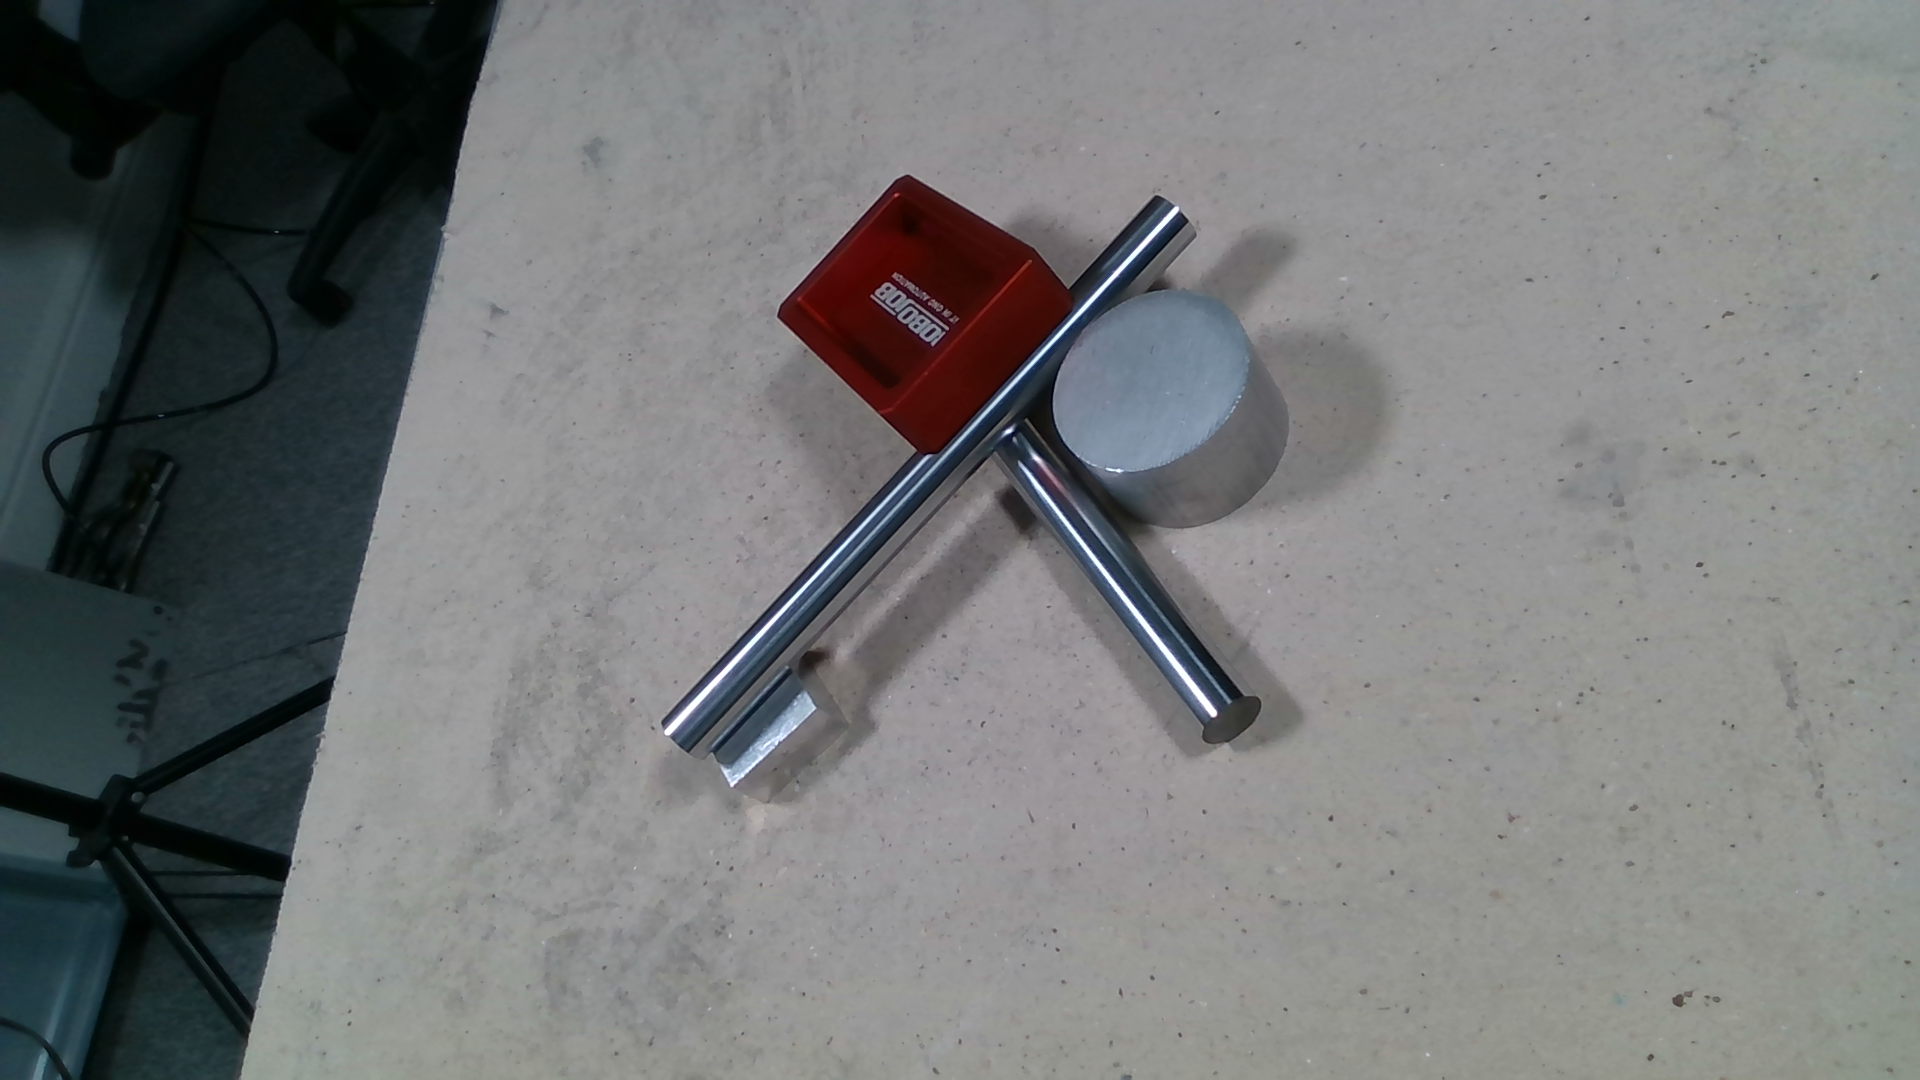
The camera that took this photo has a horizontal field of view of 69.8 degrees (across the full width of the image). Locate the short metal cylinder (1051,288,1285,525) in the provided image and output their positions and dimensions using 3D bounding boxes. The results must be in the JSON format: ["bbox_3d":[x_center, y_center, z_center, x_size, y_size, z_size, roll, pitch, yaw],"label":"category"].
[{"bbox_3d":[0.083,-0.052,0.545,0.080,0.050,0.080,-14,59,25],"label":"short metal cylinder"}]

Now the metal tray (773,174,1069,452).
[{"bbox_3d":[-0.021,-0.102,0.600,0.090,0.030,0.130,-47,39,1],"label":"metal tray"}]

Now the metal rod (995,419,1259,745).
[{"bbox_3d":[0.030,-0.033,0.584,0.025,0.025,0.299,-40,51,7],"label":"metal rod"}]

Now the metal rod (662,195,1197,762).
[{"bbox_3d":[-0.014,-0.025,0.575,0.300,0.025,0.025,-47,51,2],"label":"metal rod"}]

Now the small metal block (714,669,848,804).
[{"bbox_3d":[-0.084,0.077,0.597,0.050,0.025,0.050,-43,51,5],"label":"small metal block"}]
